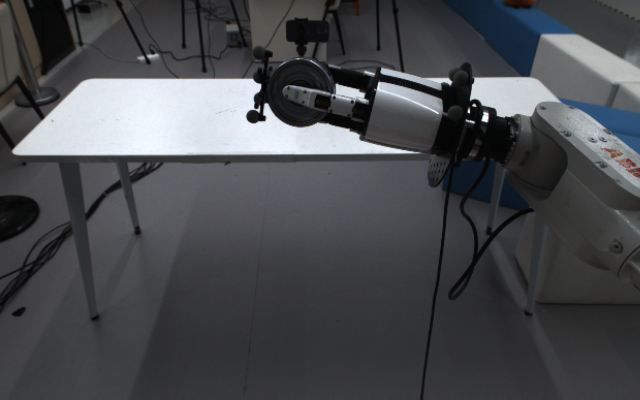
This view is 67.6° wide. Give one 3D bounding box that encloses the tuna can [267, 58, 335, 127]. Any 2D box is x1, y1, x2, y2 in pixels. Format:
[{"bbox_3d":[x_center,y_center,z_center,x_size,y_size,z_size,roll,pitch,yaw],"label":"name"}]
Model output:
[{"bbox_3d":[-0.023,-0.138,0.614,0.085,0.085,0.034,4,18,2],"label":"tuna can"}]
